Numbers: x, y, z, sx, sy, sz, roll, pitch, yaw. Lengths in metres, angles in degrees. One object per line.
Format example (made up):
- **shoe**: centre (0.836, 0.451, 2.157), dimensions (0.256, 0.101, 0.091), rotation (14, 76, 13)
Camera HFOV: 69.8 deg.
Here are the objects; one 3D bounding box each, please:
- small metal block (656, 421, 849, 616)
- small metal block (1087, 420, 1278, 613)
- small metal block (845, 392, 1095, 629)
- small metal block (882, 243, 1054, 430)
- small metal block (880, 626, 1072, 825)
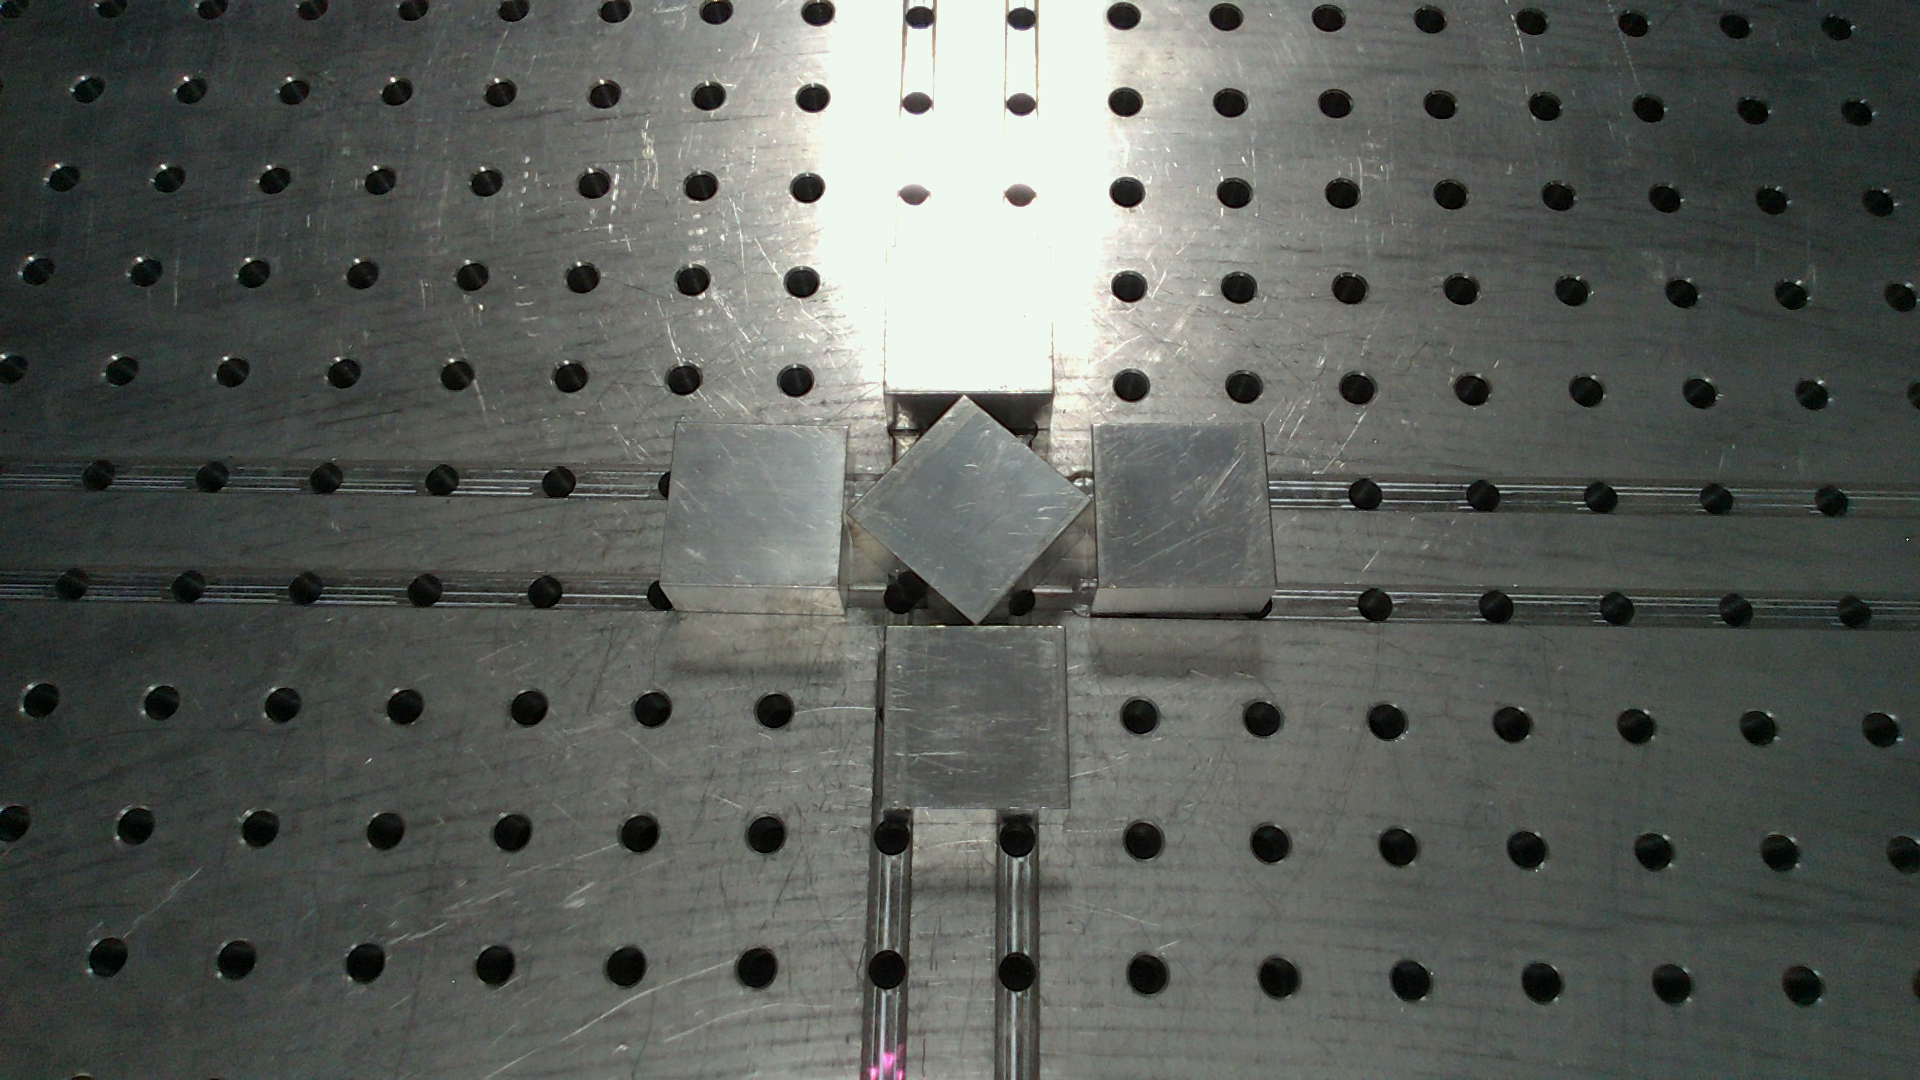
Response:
- **small metal block**: centre (-0.058, -0.006, 0.399), dimensions (0.050, 0.025, 0.050), rotation (1, 70, 0)
- **small metal block**: centre (0.063, -0.007, 0.400), dimensions (0.050, 0.025, 0.050), rotation (0, 70, 0)
- **small metal block**: centre (0.003, -0.006, 0.399), dimensions (0.050, 0.025, 0.050), rotation (40, 75, 13)
- **small metal block**: centre (0.002, -0.062, 0.420), dimensions (0.050, 0.025, 0.050), rotation (-1, 70, 0)
- **small metal block**: centre (0.004, 0.051, 0.378), dimensions (0.050, 0.025, 0.050), rotation (0, 70, 0)
